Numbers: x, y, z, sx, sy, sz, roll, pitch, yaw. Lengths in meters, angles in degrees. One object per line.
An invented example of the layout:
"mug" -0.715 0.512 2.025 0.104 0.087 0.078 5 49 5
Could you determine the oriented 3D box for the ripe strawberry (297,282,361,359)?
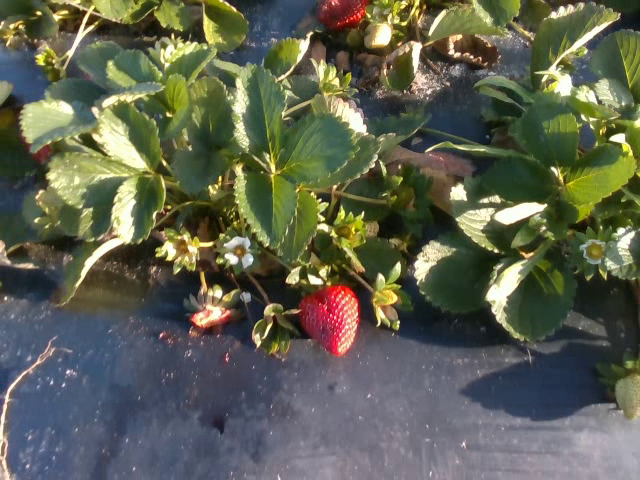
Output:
"ripe strawberry" 0.008 0.059 0.405 0.052 0.041 0.051 -23 39 12
